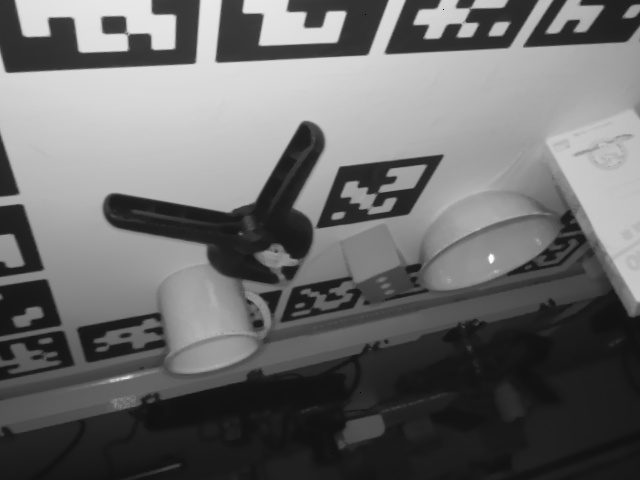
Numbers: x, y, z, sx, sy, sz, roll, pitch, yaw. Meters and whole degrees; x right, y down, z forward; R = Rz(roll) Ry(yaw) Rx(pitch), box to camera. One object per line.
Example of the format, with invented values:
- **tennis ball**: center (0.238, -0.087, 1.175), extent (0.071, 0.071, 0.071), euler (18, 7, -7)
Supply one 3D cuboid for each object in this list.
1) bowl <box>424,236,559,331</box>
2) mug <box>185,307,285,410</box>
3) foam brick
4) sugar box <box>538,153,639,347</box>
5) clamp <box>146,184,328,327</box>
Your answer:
- **bowl**: center (0.187, 0.043, 0.794), extent (0.162, 0.055, 0.160), euler (-13, 148, -7)
- **mug**: center (-0.090, 0.127, 0.748), extent (0.119, 0.082, 0.092), euler (11, 138, -34)
- **foam brick**: center (0.069, 0.069, 0.787), extent (0.052, 0.051, 0.078), euler (-24, 147, 7)
- **sugar box**: center (0.291, 0.006, 0.677), extent (0.092, 0.177, 0.045), euler (-21, 146, 6)
- **clamp**: center (-0.048, 0.035, 0.664), extent (0.165, 0.037, 0.202), euler (-23, 147, 3)
